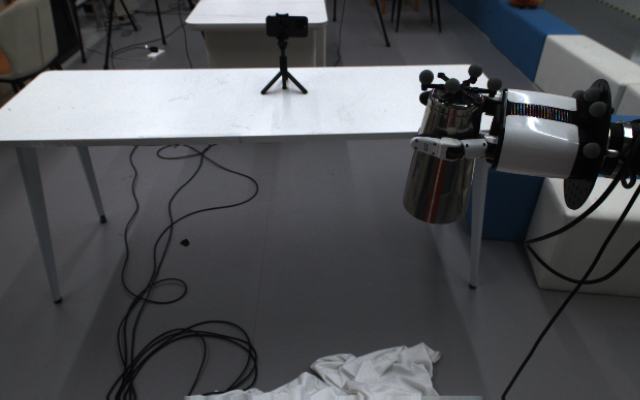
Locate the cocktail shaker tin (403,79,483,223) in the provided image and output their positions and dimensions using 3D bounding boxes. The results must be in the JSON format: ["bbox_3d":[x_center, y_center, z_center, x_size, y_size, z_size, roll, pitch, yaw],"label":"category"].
[{"bbox_3d":[0.170,-0.066,0.647,0.093,0.170,0.093,1,39,-1],"label":"cocktail shaker tin"}]
